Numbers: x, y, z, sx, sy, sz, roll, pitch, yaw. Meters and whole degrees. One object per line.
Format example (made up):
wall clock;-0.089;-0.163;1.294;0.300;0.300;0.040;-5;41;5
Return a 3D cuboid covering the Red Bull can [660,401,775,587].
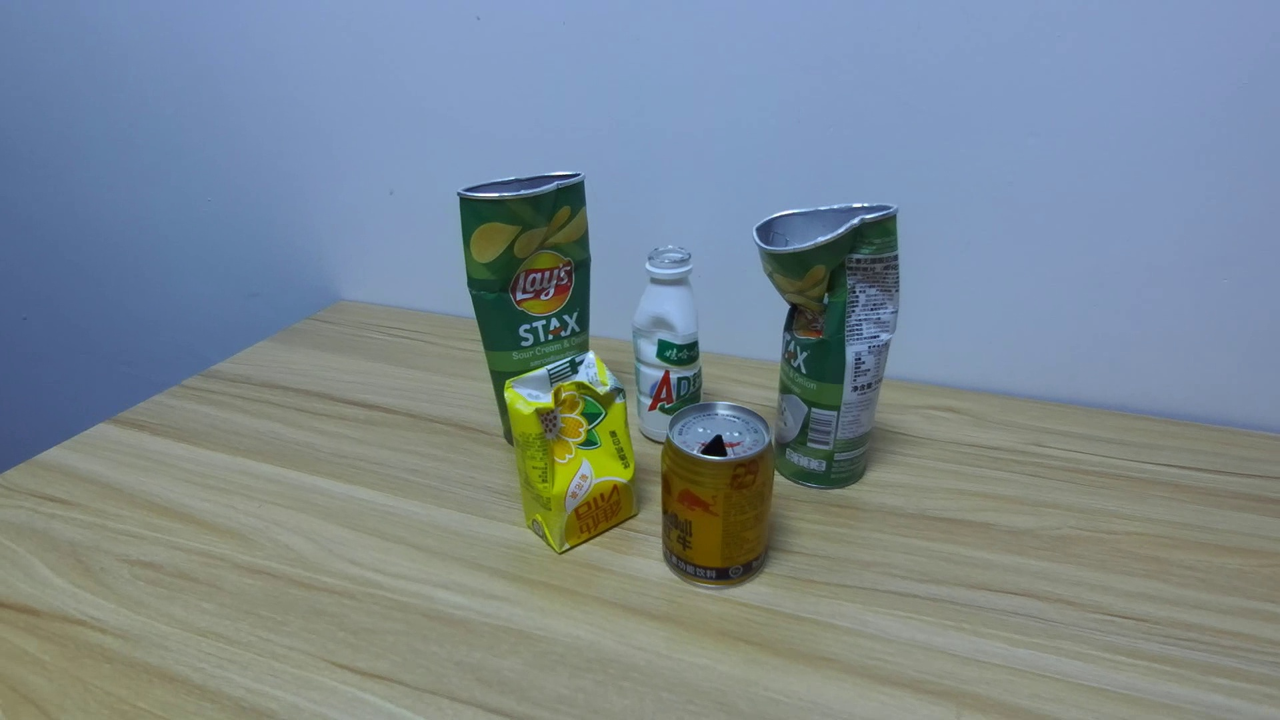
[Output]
Red Bull can;0.046;0.078;0.420;0.067;0.093;0.067;0;29;0

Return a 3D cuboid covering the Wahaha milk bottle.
Wahaha milk bottle;0.022;-0.010;0.530;0.055;0.149;0.055;-1;29;1

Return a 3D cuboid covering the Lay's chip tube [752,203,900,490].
Lay's chip tube;0.122;-0.006;0.475;0.071;0.200;0.078;-27;35;-28

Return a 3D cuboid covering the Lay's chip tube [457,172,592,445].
Lay's chip tube;-0.077;-0.032;0.529;0.069;0.199;0.075;7;27;17

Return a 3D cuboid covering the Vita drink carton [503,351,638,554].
Vita drink carton;-0.041;0.059;0.449;0.071;0.110;0.046;-20;31;-32
